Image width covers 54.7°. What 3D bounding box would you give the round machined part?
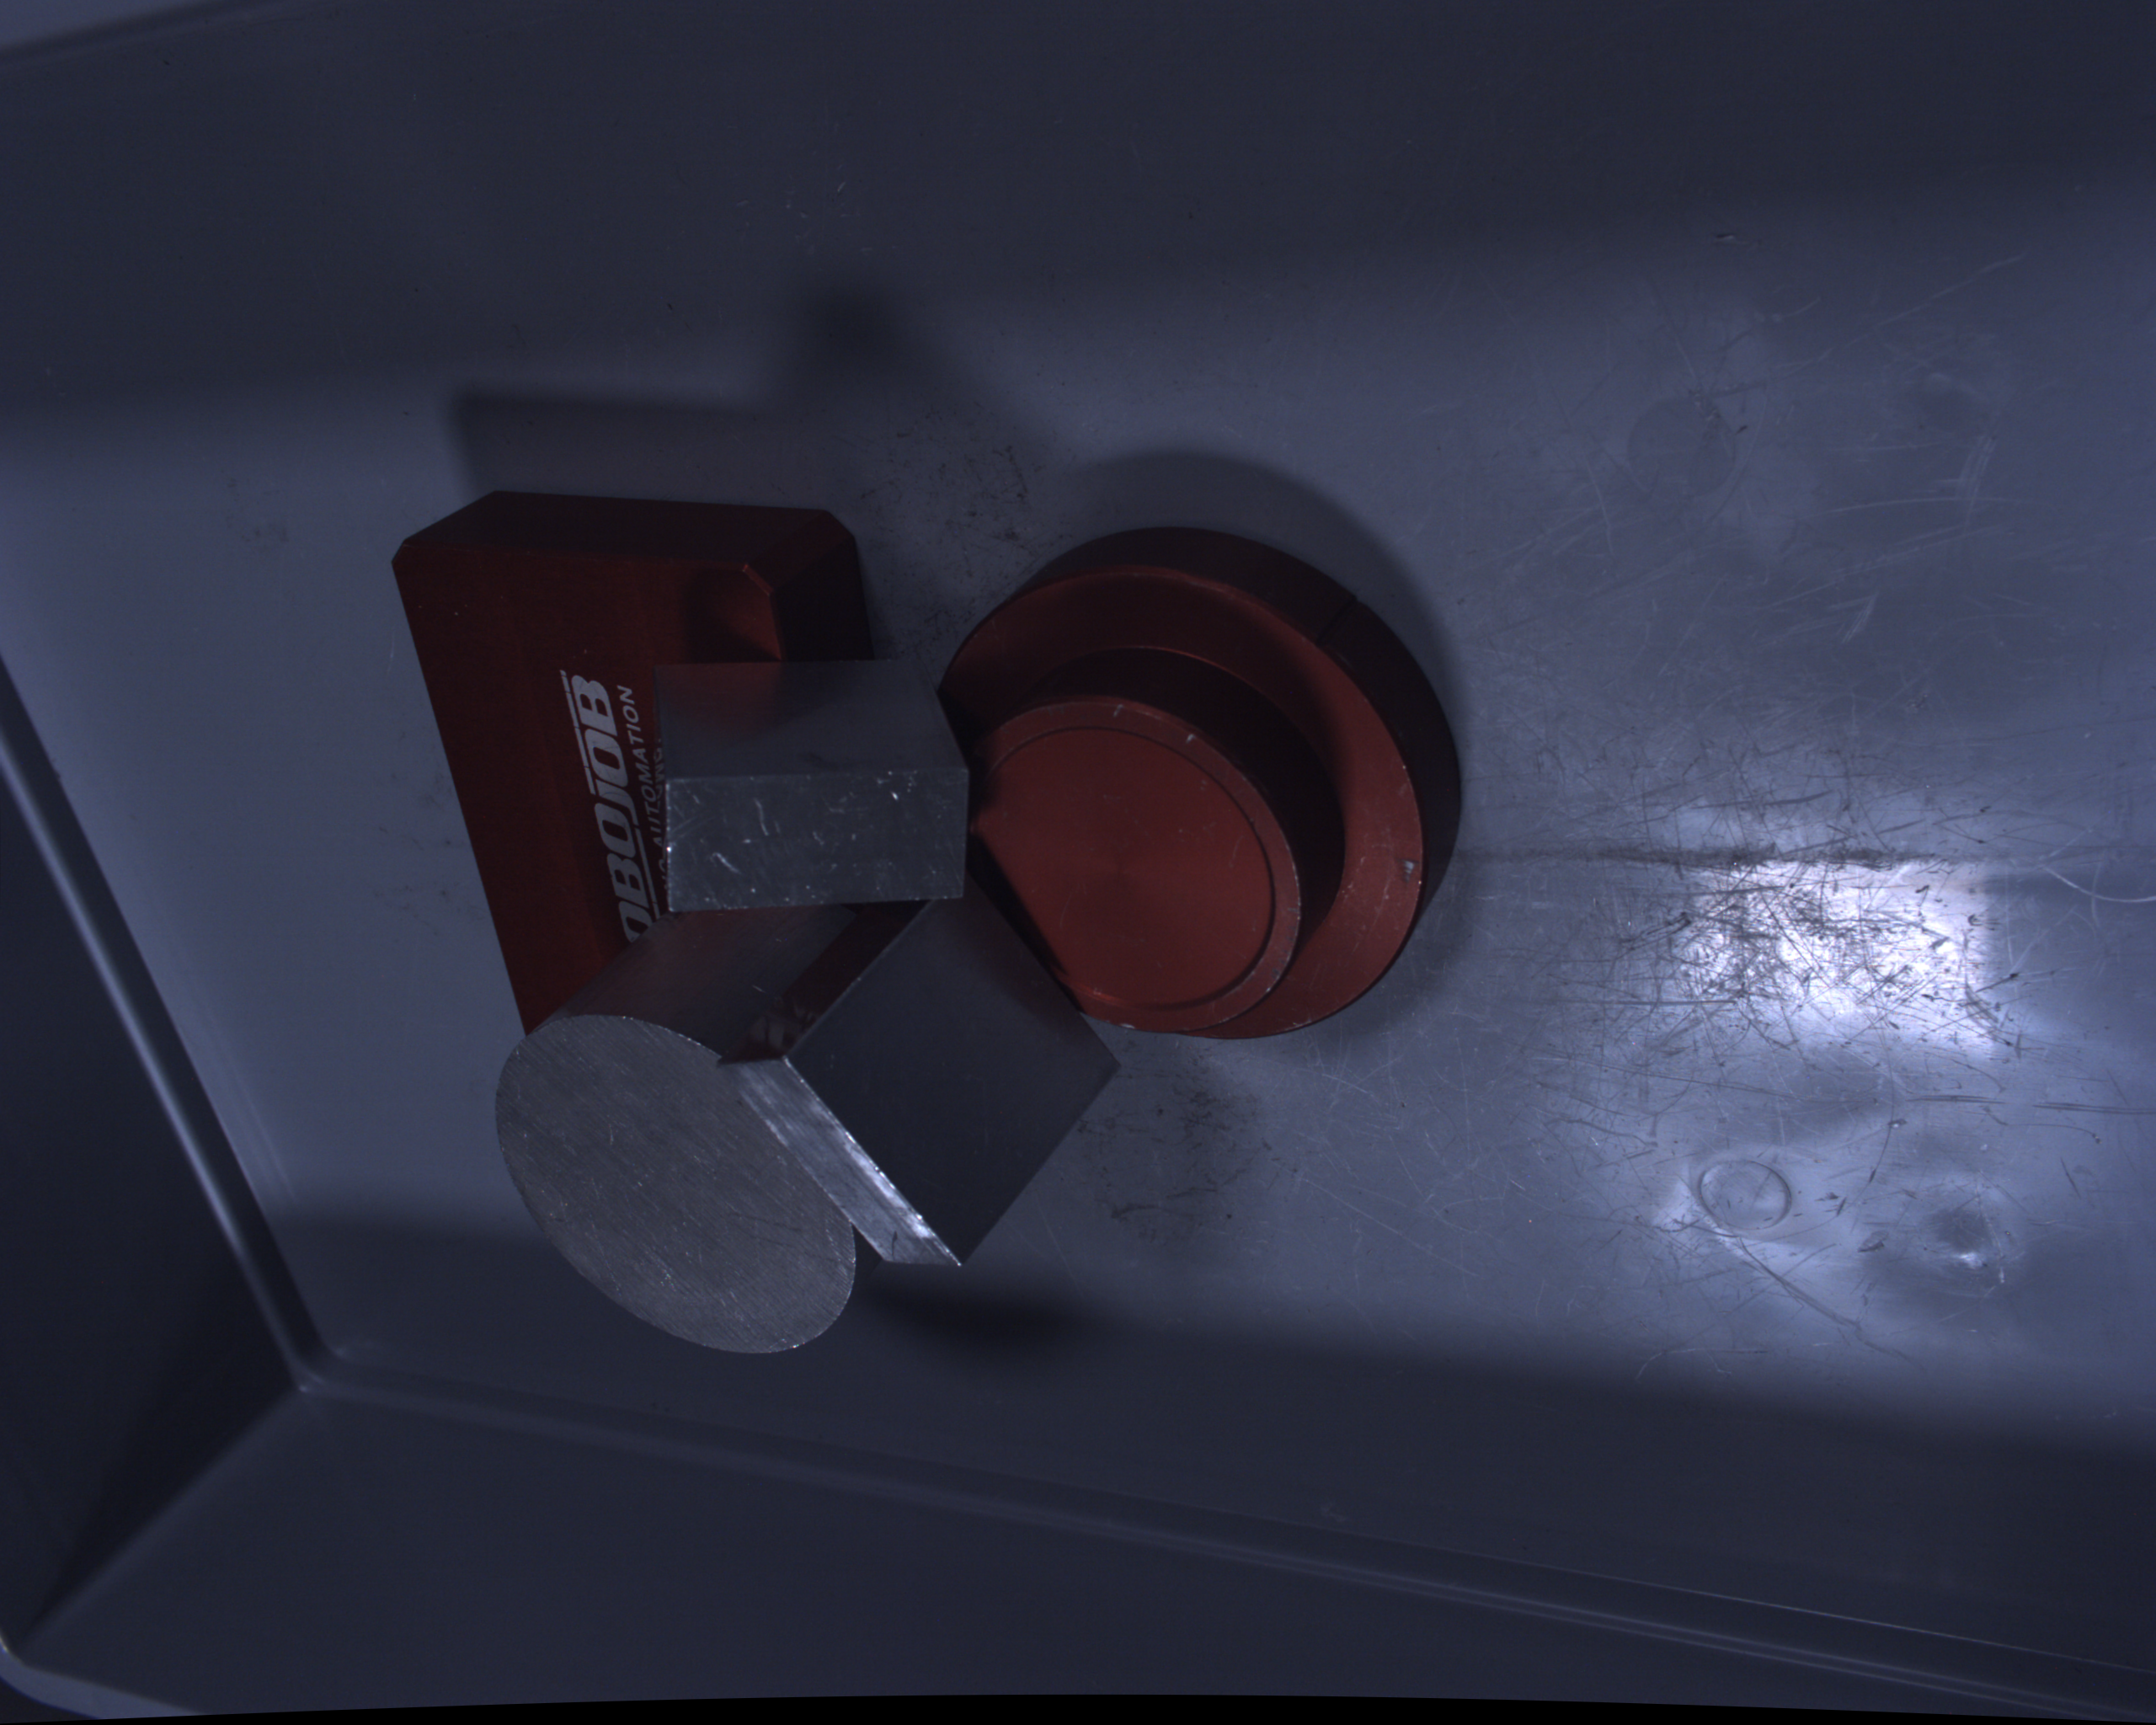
[{"bbox_3d":[0.016,-0.008,0.381,0.098,0.042,0.097,13,124,20],"label":"round machined part"}]

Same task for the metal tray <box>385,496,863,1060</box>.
[{"bbox_3d":[-0.086,-0.009,0.439,0.090,0.030,0.129,7,122,24],"label":"metal tray"}]

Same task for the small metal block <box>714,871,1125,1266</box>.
[{"bbox_3d":[-0.027,0.036,0.376,0.025,0.050,0.050,-12,121,53],"label":"small metal block"}]

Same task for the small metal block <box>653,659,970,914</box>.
[{"bbox_3d":[-0.049,-0.015,0.372,0.050,0.050,0.025,-3,118,-13],"label":"small metal block"}]

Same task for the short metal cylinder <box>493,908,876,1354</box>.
[{"bbox_3d":[-0.068,0.050,0.417,0.080,0.050,0.079,13,124,20],"label":"short metal cylinder"}]
